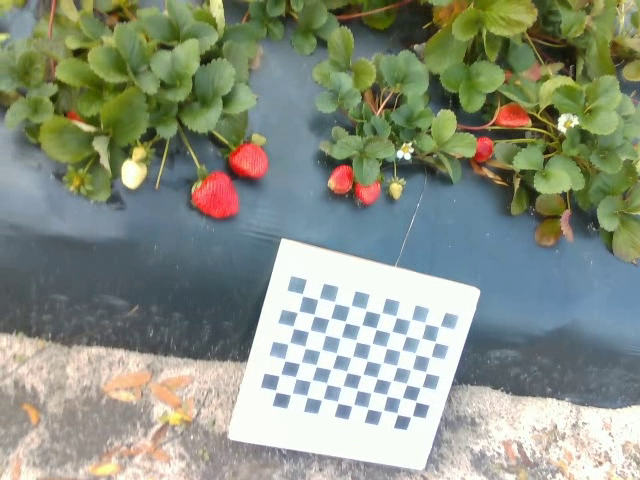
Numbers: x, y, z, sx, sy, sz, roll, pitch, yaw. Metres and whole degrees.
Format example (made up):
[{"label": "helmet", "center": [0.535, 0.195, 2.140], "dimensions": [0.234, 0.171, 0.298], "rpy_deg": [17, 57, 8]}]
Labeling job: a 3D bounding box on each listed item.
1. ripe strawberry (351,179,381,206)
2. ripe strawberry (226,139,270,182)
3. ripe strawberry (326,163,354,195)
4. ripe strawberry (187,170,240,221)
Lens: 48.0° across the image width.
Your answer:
[{"label": "ripe strawberry", "center": [0.069, -0.065, 0.977], "dimensions": [0.043, 0.041, 0.049], "rpy_deg": [9, 38, -15]}, {"label": "ripe strawberry", "center": [-0.090, -0.100, 0.943], "dimensions": [0.059, 0.051, 0.051], "rpy_deg": [45, 8, 30]}, {"label": "ripe strawberry", "center": [0.028, -0.080, 0.976], "dimensions": [0.038, 0.047, 0.053], "rpy_deg": [15, 26, 42]}, {"label": "ripe strawberry", "center": [-0.127, -0.052, 0.918], "dimensions": [0.059, 0.065, 0.043], "rpy_deg": [-44, 2, 5]}]
